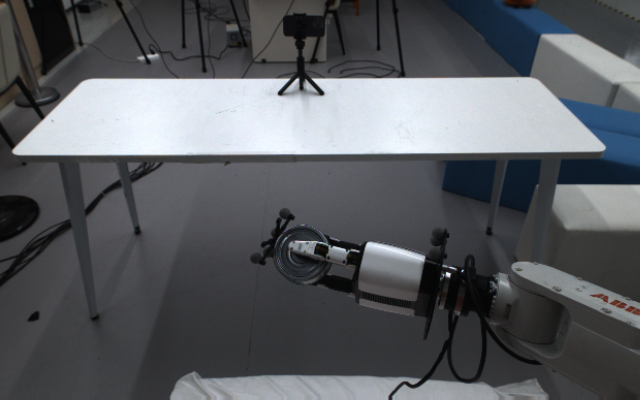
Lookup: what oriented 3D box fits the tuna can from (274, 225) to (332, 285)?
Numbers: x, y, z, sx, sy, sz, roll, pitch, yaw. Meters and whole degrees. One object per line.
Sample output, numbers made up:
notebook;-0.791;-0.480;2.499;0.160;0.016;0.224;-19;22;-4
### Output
tuna can;-0.021;0.084;0.711;0.085;0.034;0.085;-1;73;4
